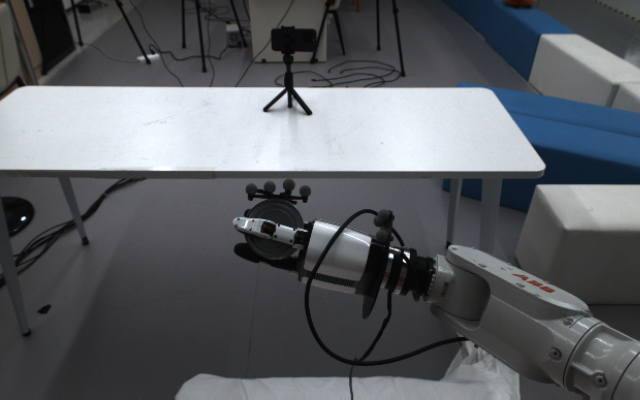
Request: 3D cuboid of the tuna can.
[{"bbox_3d":[-0.064,0.043,0.696,0.085,0.034,0.085,-1,77,4],"label":"tuna can"}]
